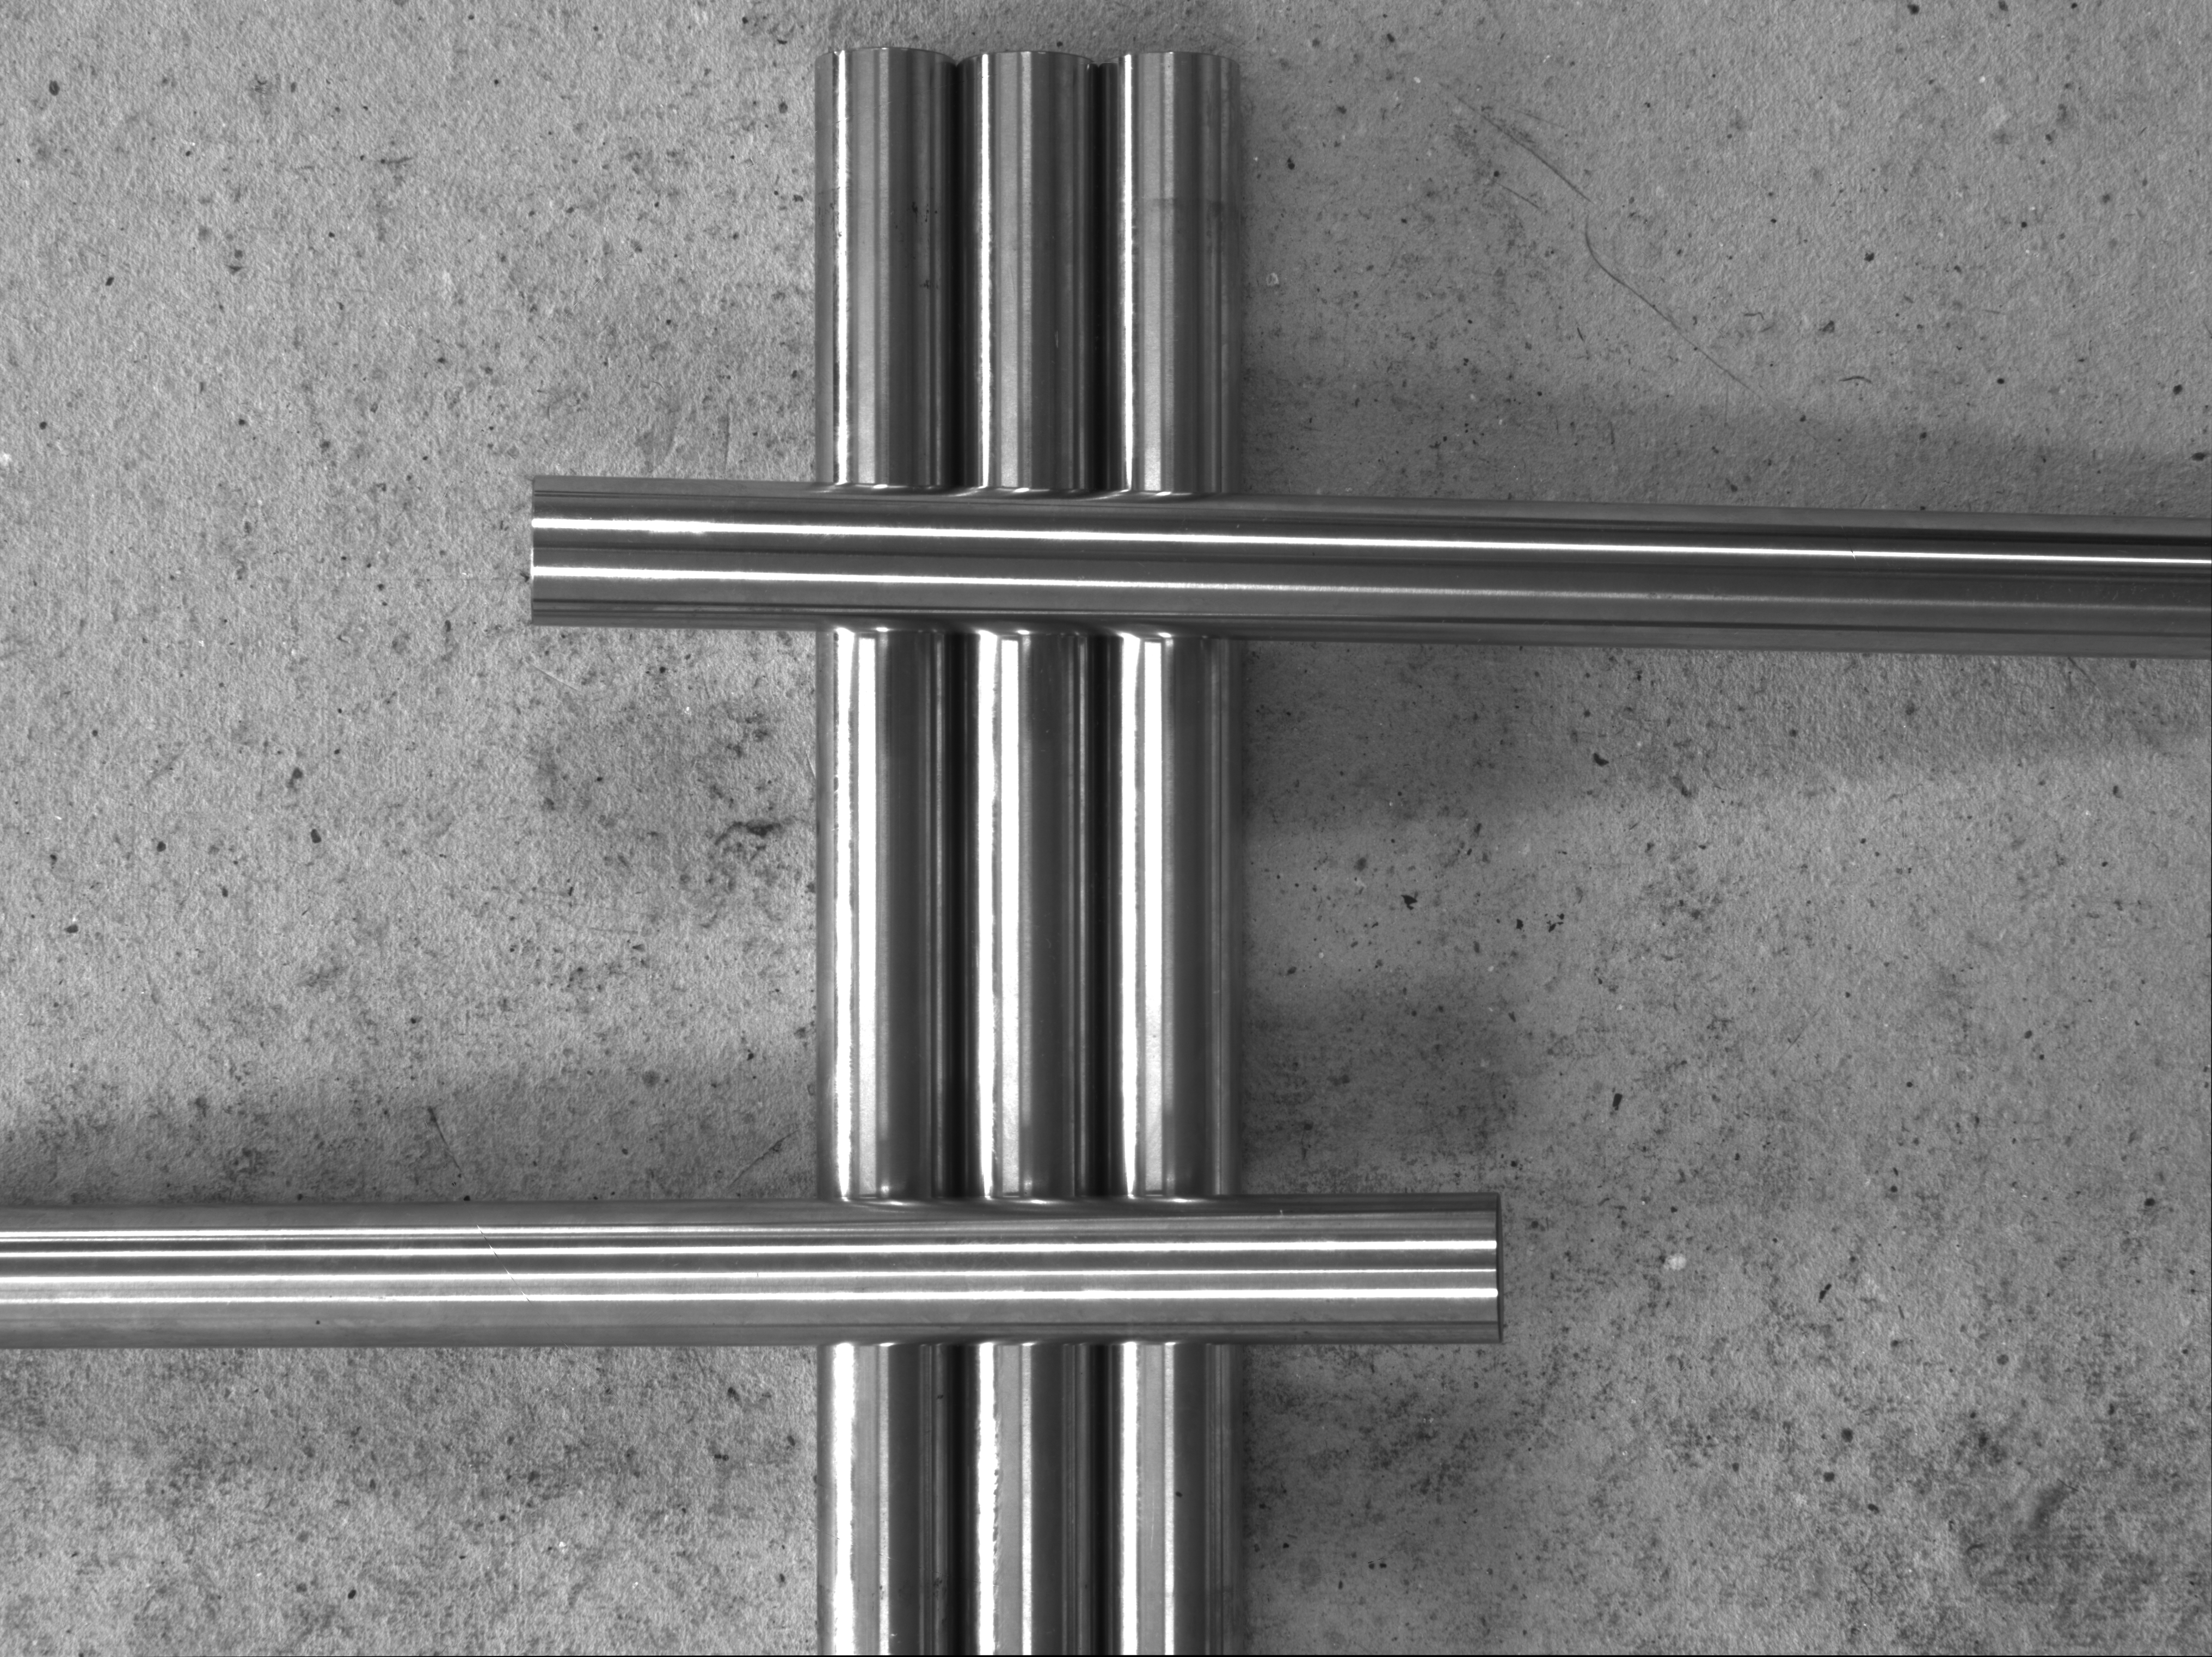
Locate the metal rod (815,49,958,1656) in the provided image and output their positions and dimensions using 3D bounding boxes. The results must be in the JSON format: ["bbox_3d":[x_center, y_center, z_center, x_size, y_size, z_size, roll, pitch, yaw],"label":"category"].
[{"bbox_3d":[-0.039,0.016,0.645,0.025,0.025,0.300,0,90,0],"label":"metal rod"}]

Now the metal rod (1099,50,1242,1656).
[{"bbox_3d":[0.011,0.016,0.645,0.025,0.025,0.300,0,90,0],"label":"metal rod"}]

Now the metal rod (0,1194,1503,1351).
[{"bbox_3d":[-0.083,0.076,0.626,0.300,0.025,0.025,-1,90,7],"label":"metal rod"}]

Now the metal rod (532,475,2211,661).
[{"bbox_3d":[0.054,-0.044,0.626,0.300,0.025,0.025,1,90,-8],"label":"metal rod"}]

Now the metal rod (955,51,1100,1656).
[{"bbox_3d":[-0.014,0.016,0.645,0.025,0.025,0.300,0,90,0],"label":"metal rod"}]
